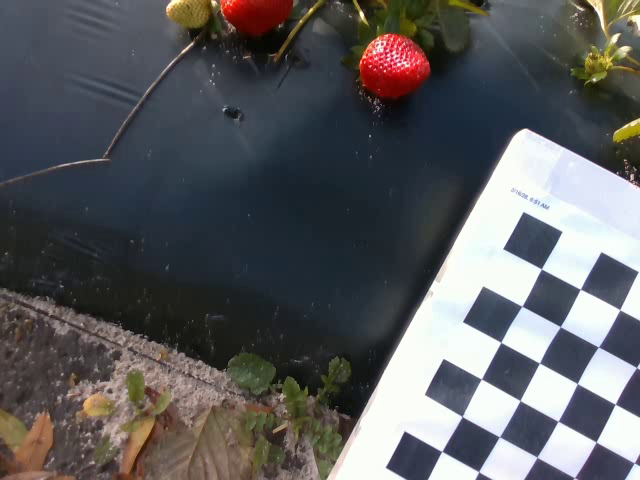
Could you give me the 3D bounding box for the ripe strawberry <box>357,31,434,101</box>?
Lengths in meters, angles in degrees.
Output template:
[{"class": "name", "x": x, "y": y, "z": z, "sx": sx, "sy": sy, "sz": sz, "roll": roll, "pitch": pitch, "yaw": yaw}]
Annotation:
[{"class": "ripe strawberry", "x": 0.036, "y": -0.076, "z": 0.245, "sx": 0.033, "sy": 0.038, "sz": 0.039, "roll": 35, "pitch": 15, "yaw": -17}]
